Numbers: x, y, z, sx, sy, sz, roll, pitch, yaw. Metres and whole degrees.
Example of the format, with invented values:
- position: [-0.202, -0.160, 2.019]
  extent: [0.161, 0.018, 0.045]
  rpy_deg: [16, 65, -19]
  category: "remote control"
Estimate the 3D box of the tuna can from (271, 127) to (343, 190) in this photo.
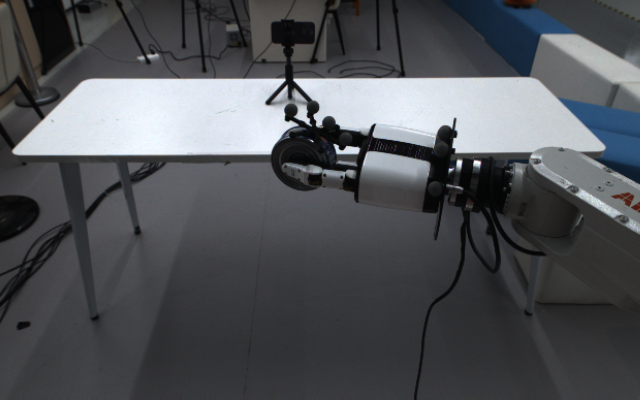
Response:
- position: [-0.022, -0.056, 0.658]
  extent: [0.085, 0.085, 0.034]
  rpy_deg: [12, 34, 14]
  category: "tuna can"
